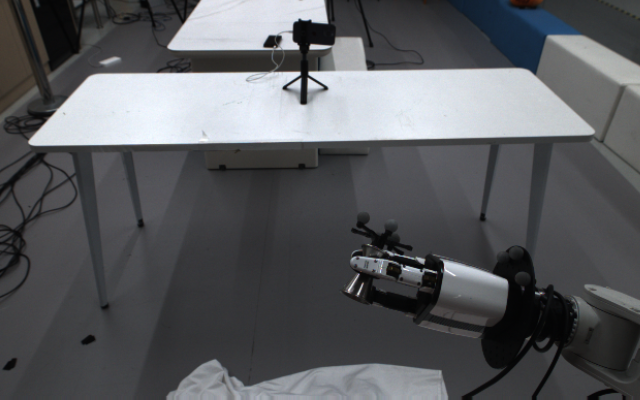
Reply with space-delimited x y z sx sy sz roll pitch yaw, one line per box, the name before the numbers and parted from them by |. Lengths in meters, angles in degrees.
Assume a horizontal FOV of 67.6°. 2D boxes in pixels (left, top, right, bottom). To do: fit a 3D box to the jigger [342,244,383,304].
jigger | 0.059 0.093 0.622 0.043 0.043 0.071 19 72 23
